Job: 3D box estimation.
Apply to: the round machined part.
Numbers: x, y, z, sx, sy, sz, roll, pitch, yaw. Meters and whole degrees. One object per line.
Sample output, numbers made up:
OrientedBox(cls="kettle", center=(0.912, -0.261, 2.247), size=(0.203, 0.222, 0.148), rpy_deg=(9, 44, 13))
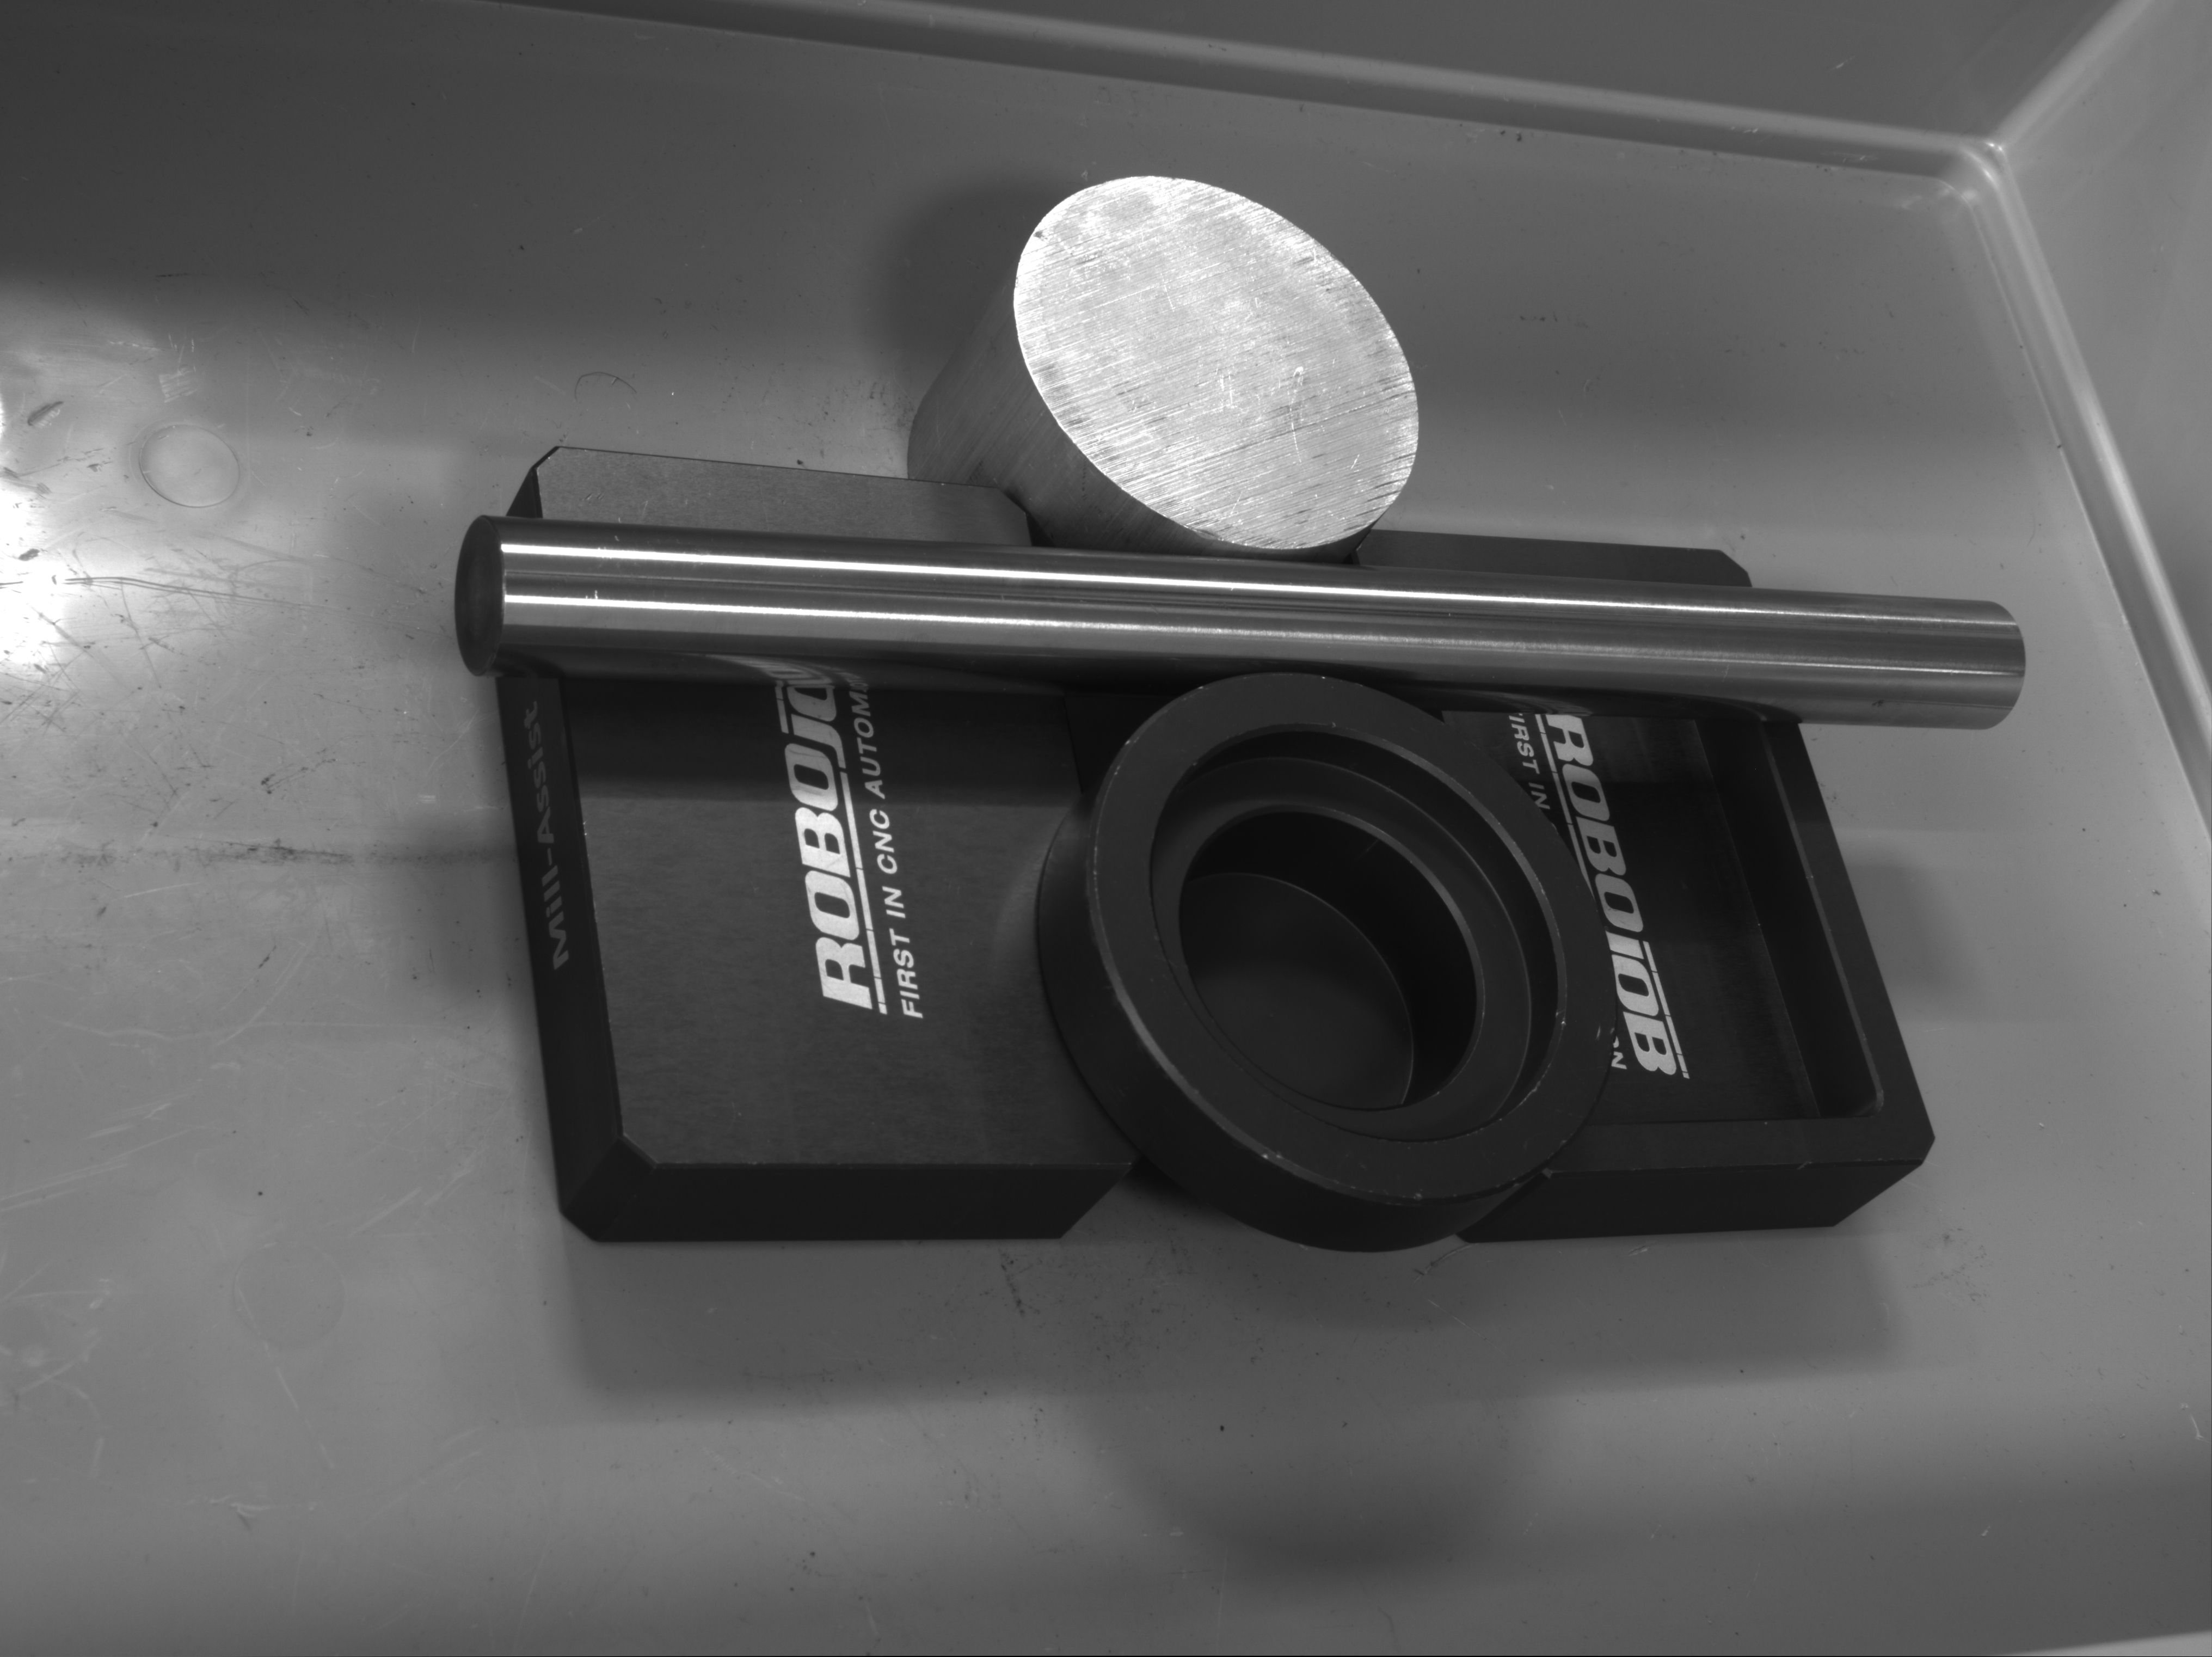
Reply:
OrientedBox(cls="round machined part", center=(0.033, 0.026, 0.617), size=(0.098, 0.042, 0.098), rpy_deg=(13, 56, -21))

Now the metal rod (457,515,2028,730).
OrientedBox(cls="metal rod", center=(0.036, -0.034, 0.639), size=(0.301, 0.025, 0.025), rpy_deg=(1, 61, -28))

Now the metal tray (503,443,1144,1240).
OrientedBox(cls="metal tray", center=(-0.049, 0.002, 0.606), size=(0.090, 0.030, 0.130), rpy_deg=(3, 60, -27))

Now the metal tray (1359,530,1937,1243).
OrientedBox(cls="metal tray", center=(0.092, 0.009, 0.678), size=(0.090, 0.030, 0.130), rpy_deg=(1, 61, -28))

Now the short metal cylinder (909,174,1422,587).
OrientedBox(cls="short metal cylinder", center=(0.010, -0.072, 0.671), size=(0.080, 0.050, 0.080), rpy_deg=(13, 56, -21))
